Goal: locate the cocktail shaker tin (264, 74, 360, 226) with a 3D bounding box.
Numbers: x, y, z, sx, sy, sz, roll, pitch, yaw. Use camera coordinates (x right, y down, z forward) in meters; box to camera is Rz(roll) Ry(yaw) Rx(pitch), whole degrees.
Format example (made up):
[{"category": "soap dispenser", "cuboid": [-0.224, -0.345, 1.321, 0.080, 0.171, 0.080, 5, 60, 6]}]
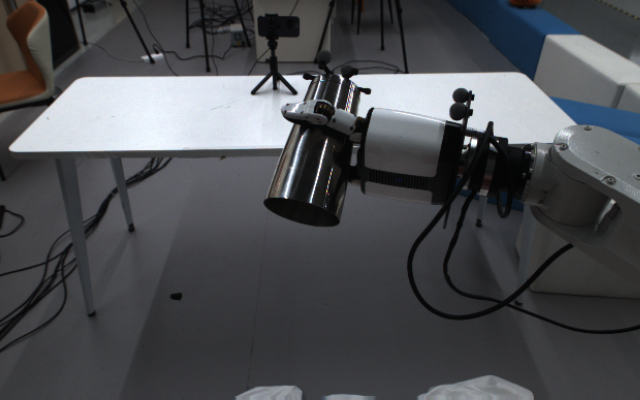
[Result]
[{"category": "cocktail shaker tin", "cuboid": [0.000, -0.062, 0.585, 0.093, 0.093, 0.170, 11, 71, 12]}]
